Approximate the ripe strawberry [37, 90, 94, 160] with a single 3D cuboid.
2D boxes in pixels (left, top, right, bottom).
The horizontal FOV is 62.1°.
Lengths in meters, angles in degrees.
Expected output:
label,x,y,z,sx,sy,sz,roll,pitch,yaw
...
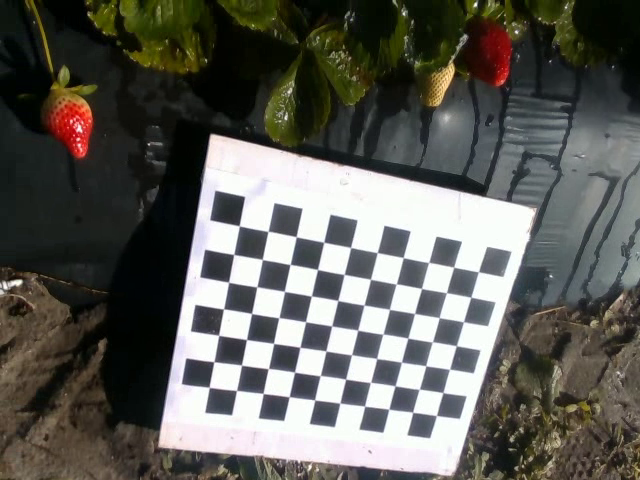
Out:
label,x,y,z,sx,sy,sz,roll,pitch,yaw
ripe strawberry,-0.178,-0.081,0.381,0.039,0.053,0.040,-11,-2,-7
